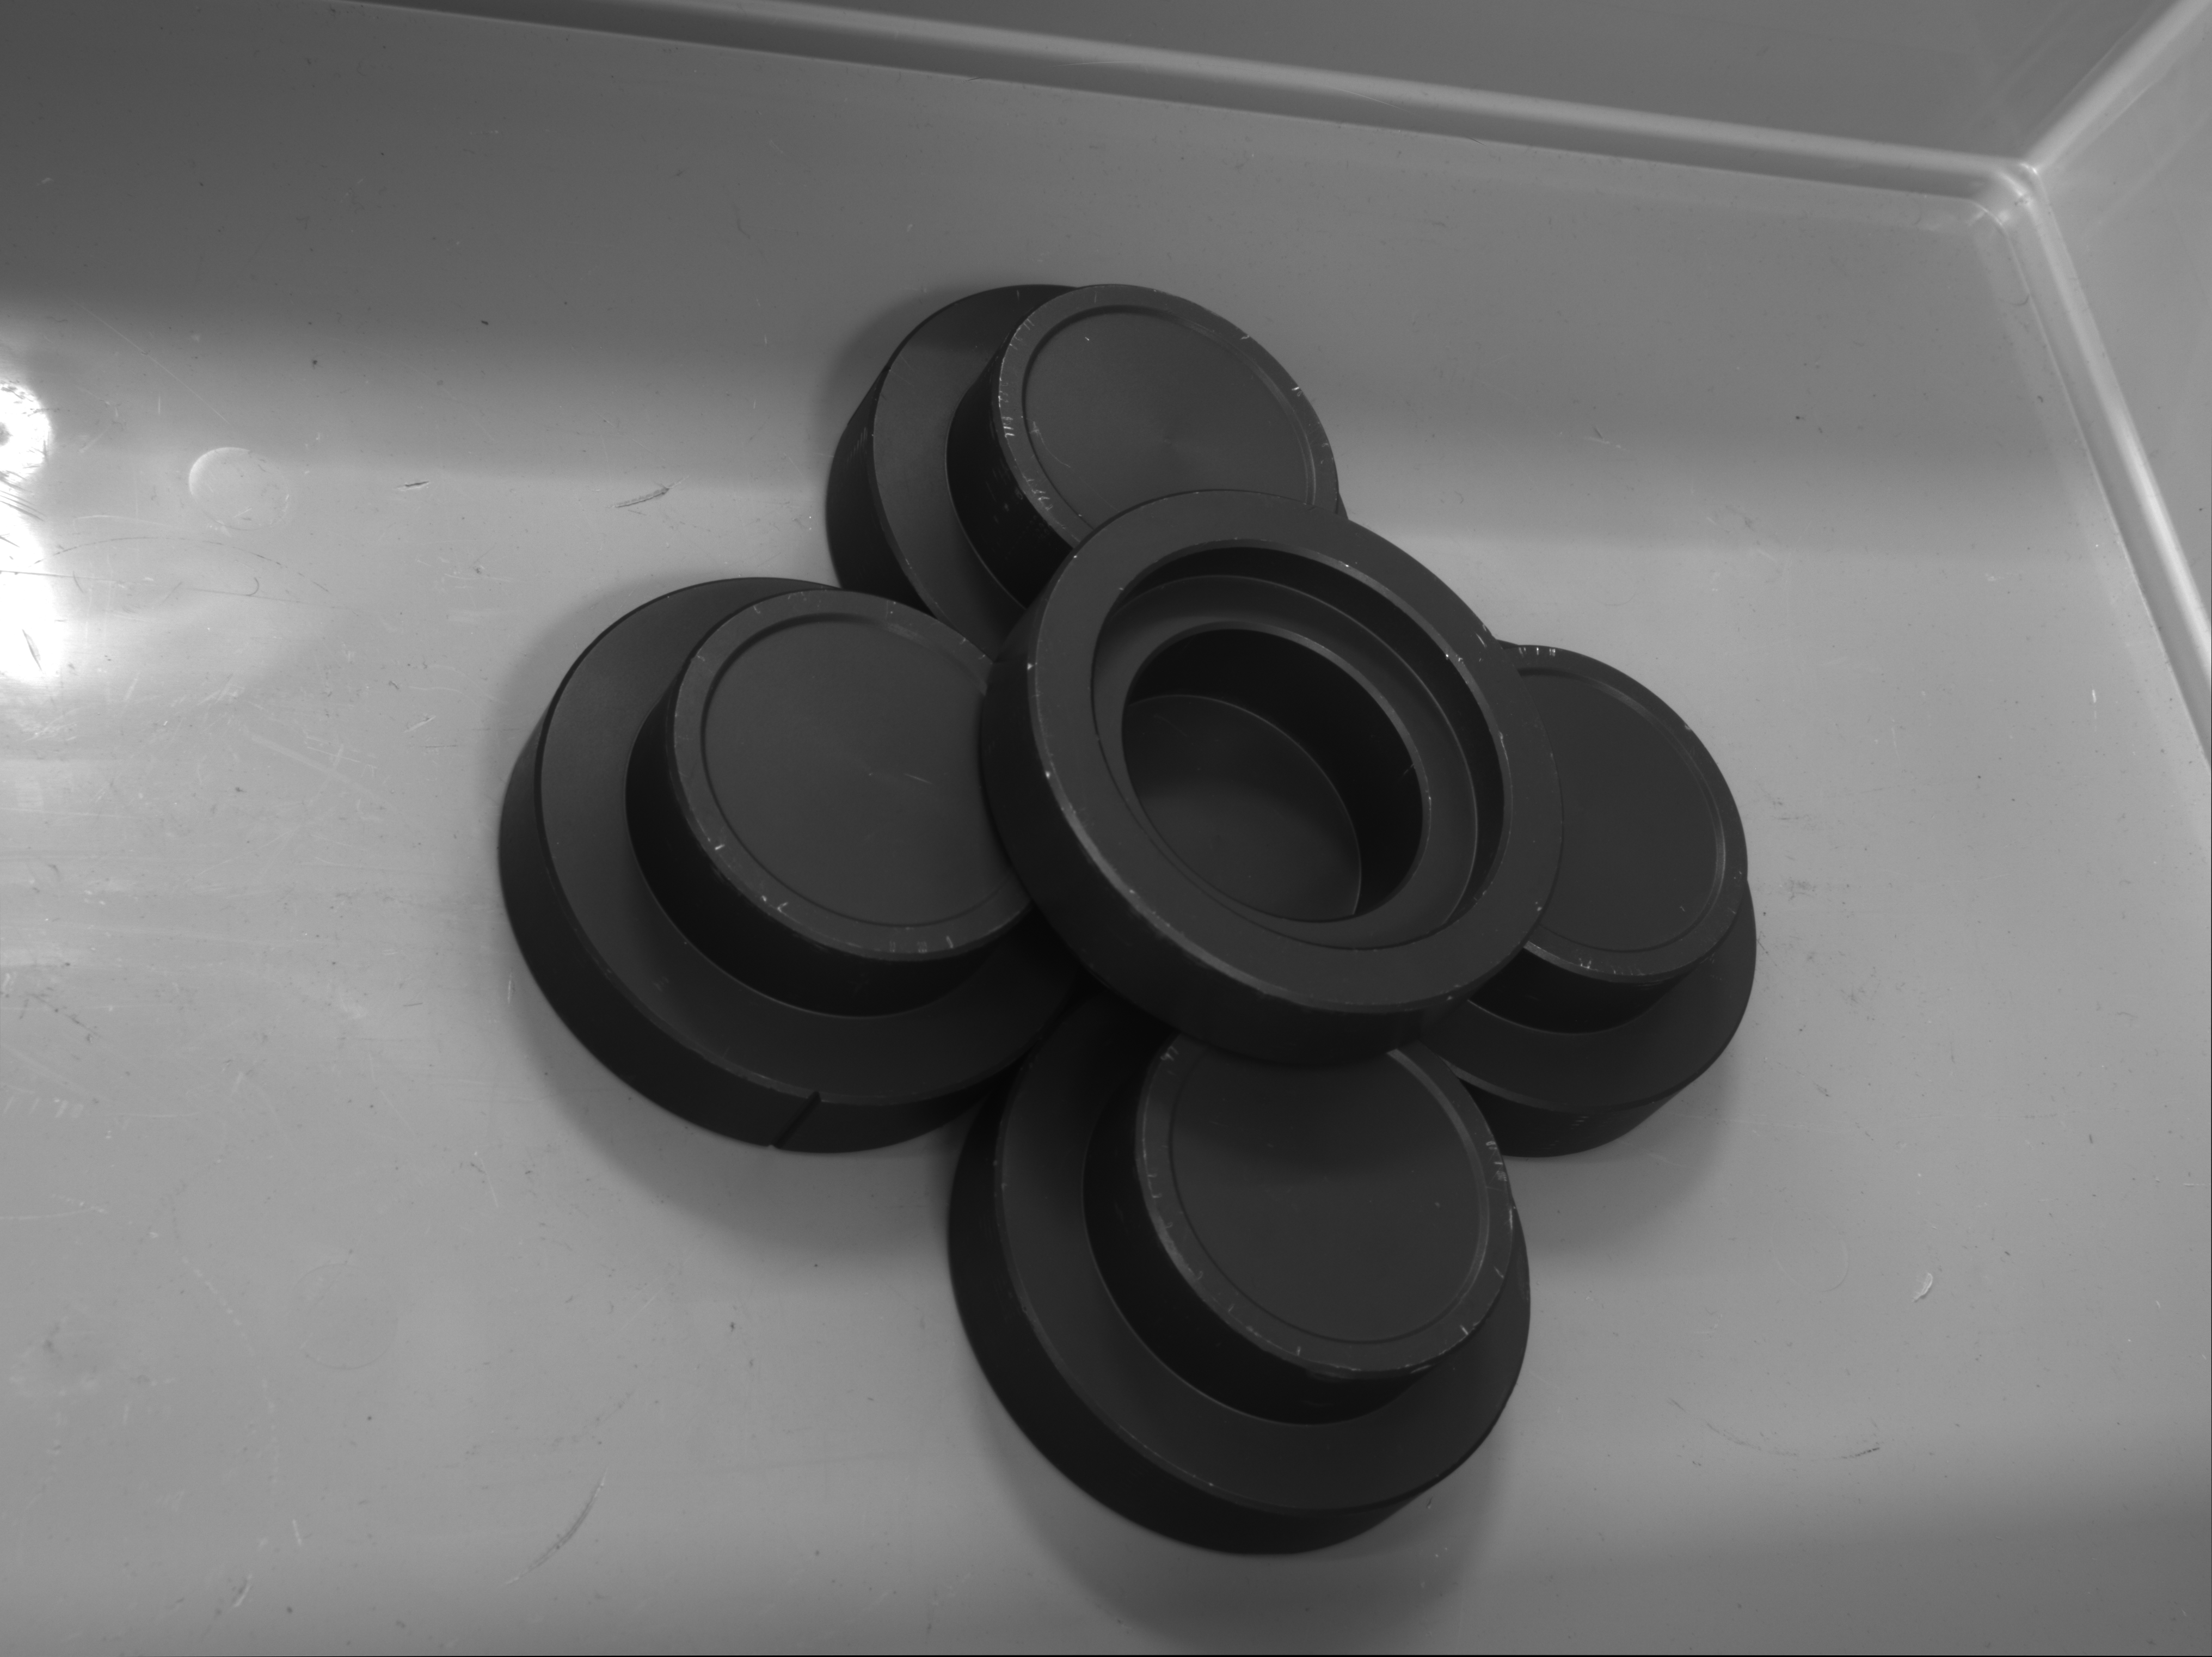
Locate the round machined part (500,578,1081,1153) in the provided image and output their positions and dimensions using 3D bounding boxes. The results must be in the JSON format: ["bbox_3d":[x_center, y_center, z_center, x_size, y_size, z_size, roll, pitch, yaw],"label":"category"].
[{"bbox_3d":[-0.046,0.000,0.601,0.098,0.042,0.098,14,56,-21],"label":"round machined part"}]

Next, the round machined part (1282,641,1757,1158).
[{"bbox_3d":[0.076,0.006,0.662,0.098,0.042,0.098,14,56,-21],"label":"round machined part"}]

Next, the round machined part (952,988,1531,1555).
[{"bbox_3d":[0.028,0.065,0.601,0.098,0.042,0.098,15,54,-21],"label":"round machined part"}]

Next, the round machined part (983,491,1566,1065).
[{"bbox_3d":[0.024,-0.004,0.614,0.098,0.042,0.098,14,56,-21],"label":"round machined part"}]

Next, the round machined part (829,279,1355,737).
[{"bbox_3d":[0.003,-0.060,0.662,0.098,0.042,0.098,14,56,-21],"label":"round machined part"}]
